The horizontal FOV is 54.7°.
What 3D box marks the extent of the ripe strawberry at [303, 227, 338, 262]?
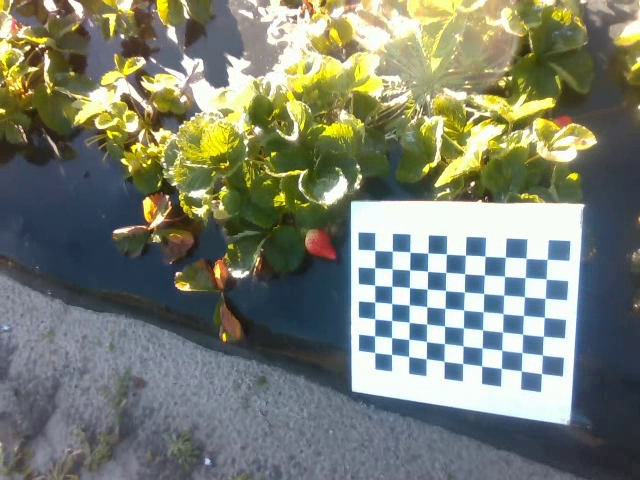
[{"bbox_3d":[-0.001,0.012,0.923,0.065,0.040,0.040,44,19,10],"label":"ripe strawberry"}]
